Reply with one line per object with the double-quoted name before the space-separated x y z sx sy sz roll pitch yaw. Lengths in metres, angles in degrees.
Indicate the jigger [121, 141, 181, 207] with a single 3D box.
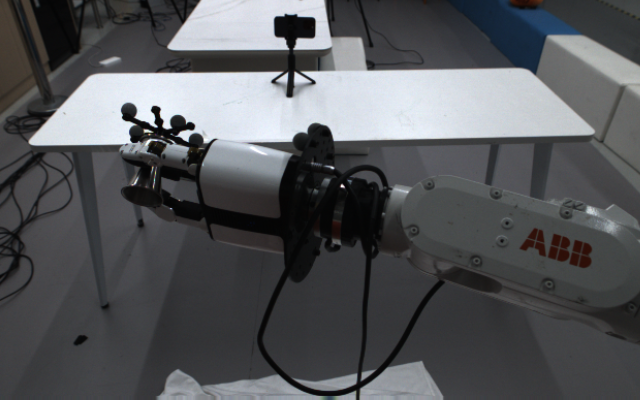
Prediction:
"jigger" -0.185 -0.034 0.526 0.043 0.043 0.071 4 61 2
